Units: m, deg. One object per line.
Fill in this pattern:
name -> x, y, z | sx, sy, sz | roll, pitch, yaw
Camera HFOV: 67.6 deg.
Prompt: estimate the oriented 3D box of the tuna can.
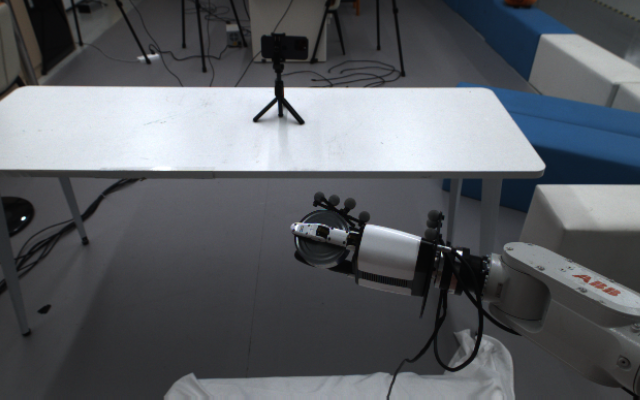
tuna can -> 0.007, 0.058, 0.737 | 0.085, 0.034, 0.085 | -4, 67, 10
